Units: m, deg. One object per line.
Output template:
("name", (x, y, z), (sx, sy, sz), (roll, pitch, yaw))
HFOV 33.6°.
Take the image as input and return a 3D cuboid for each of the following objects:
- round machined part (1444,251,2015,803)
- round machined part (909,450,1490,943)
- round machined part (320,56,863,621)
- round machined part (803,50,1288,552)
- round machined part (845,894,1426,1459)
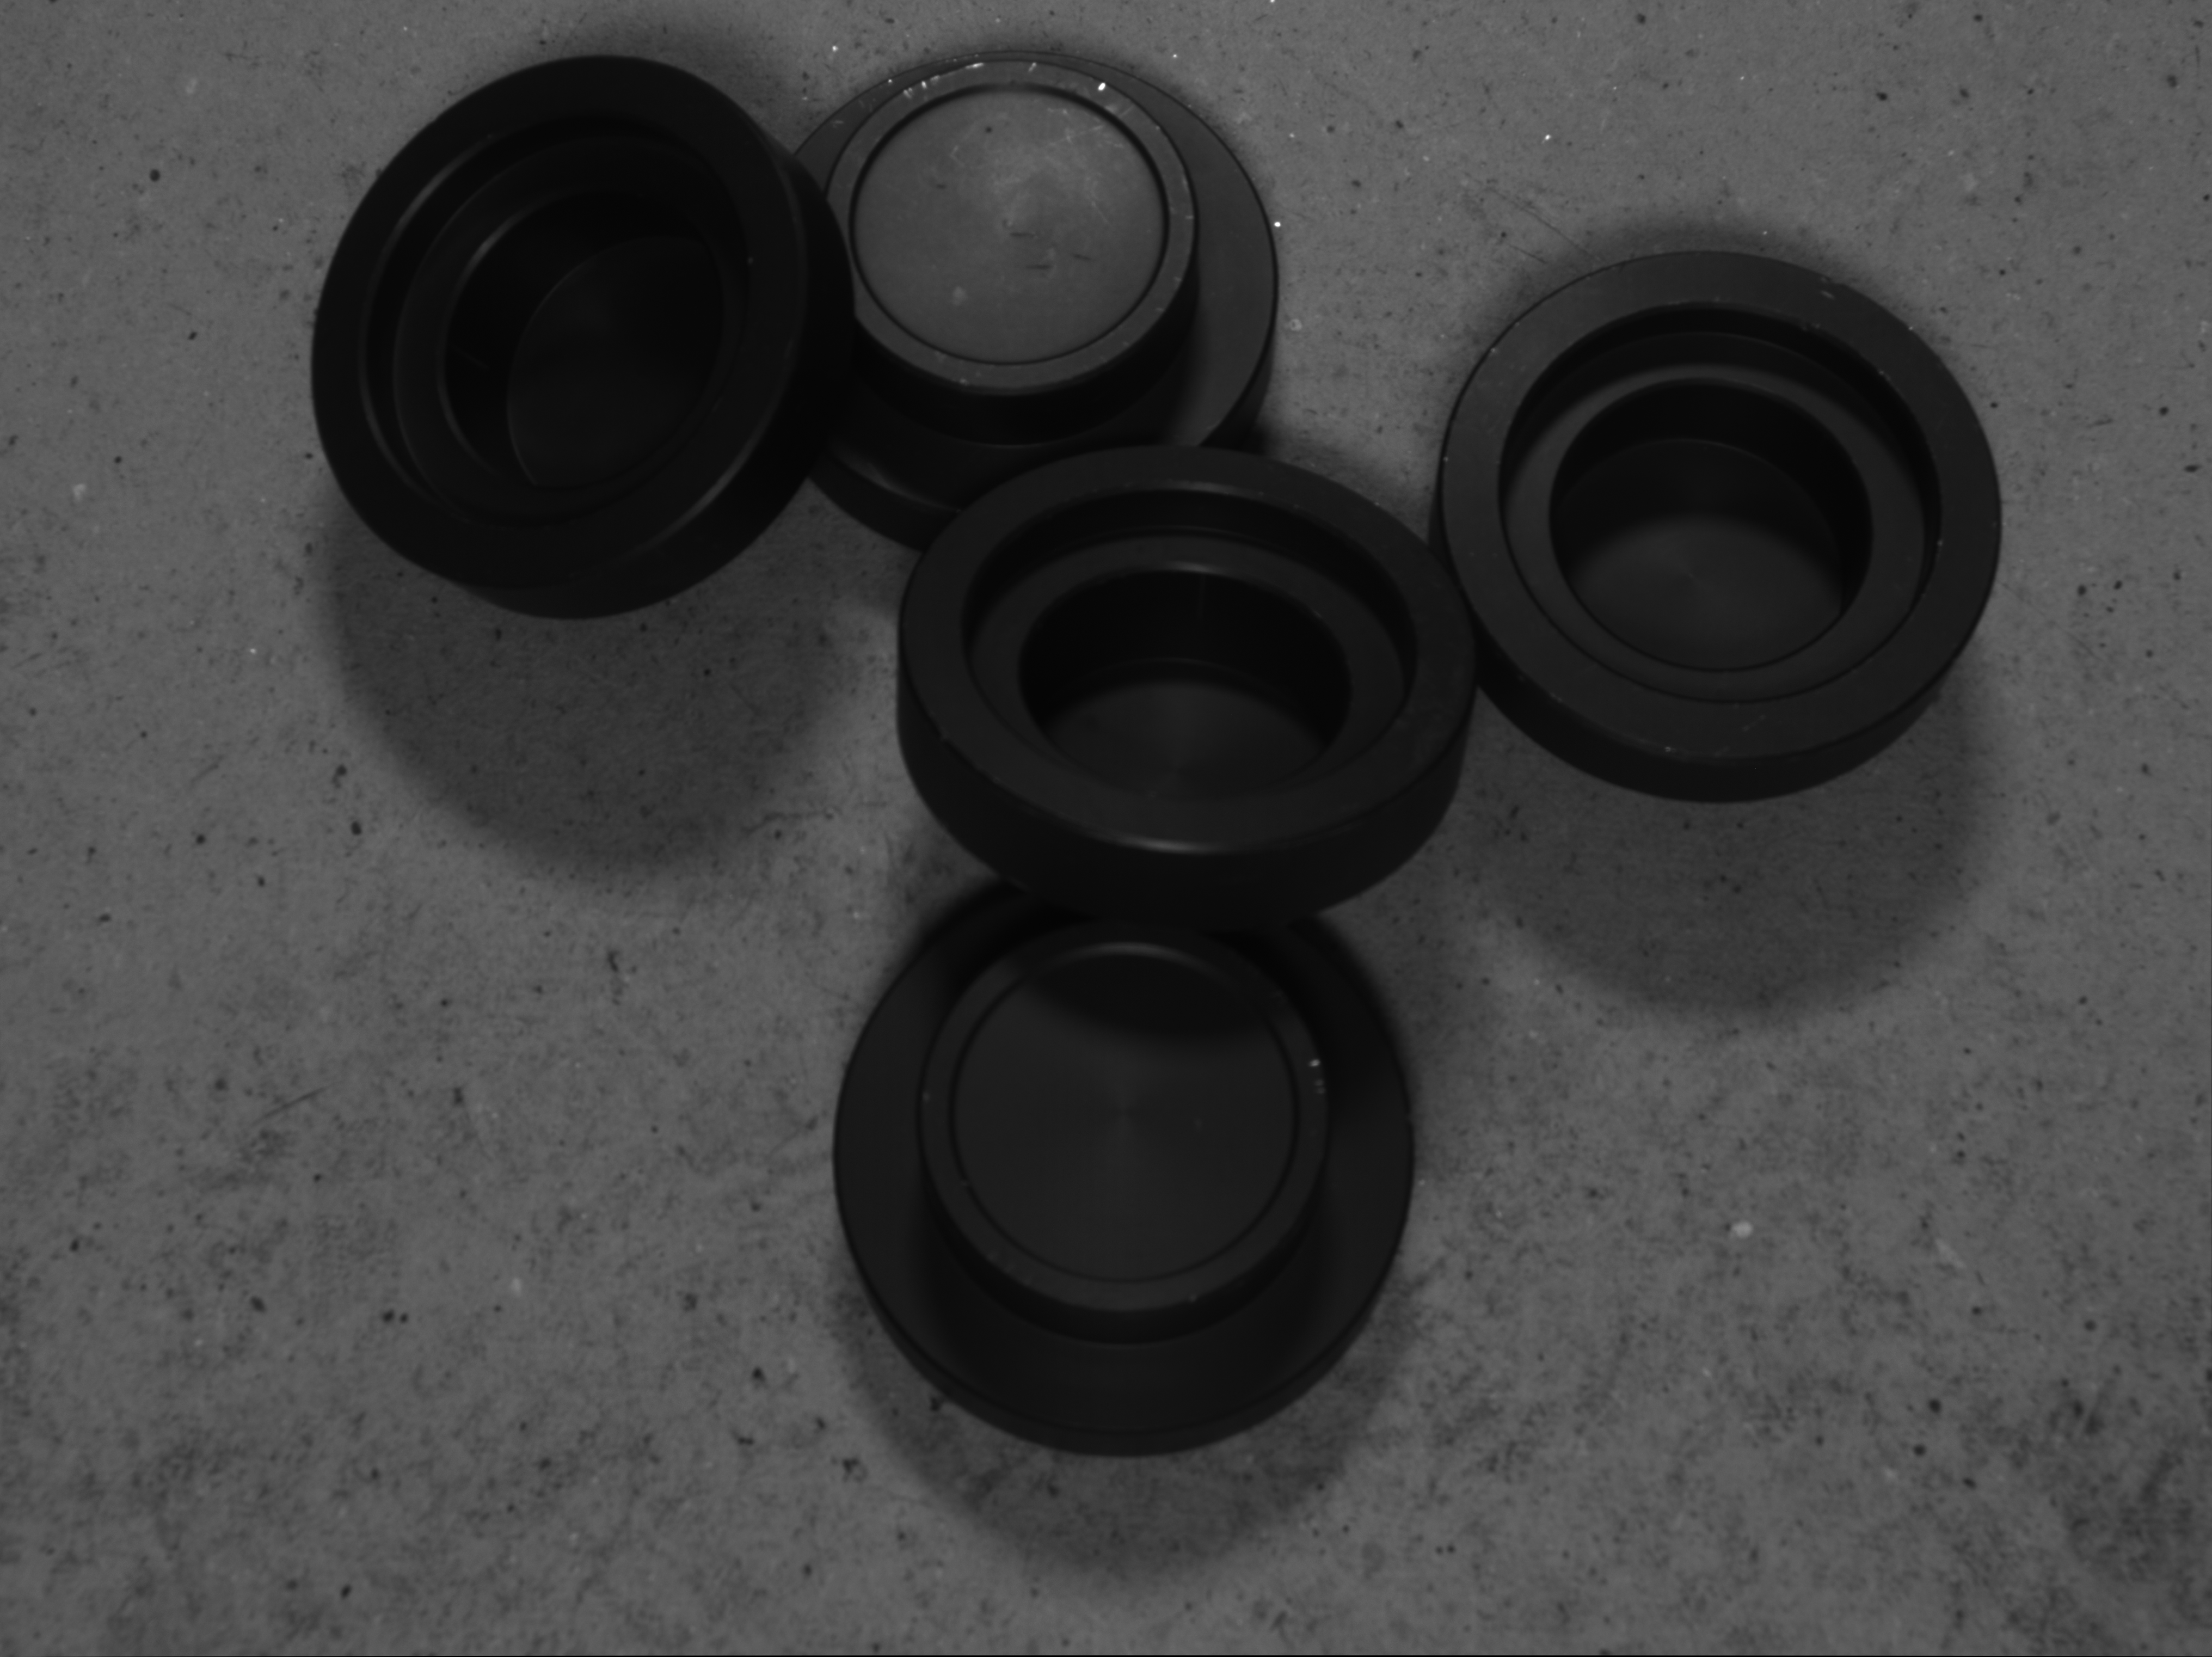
("round machined part", (0.109, -0.050, 0.654), (0.098, 0.042, 0.098), (0, 70, 0))
("round machined part", (0.015, -0.018, 0.631), (0.098, 0.042, 0.098), (2, 47, -2))
("round machined part", (-0.087, -0.084, 0.655), (0.098, 0.042, 0.098), (-5, 76, 21))
("round machined part", (-0.015, -0.101, 0.673), (0.098, 0.042, 0.098), (0, 70, 0))
("round machined part", (0.005, 0.053, 0.616), (0.098, 0.042, 0.098), (0, 70, 0))
